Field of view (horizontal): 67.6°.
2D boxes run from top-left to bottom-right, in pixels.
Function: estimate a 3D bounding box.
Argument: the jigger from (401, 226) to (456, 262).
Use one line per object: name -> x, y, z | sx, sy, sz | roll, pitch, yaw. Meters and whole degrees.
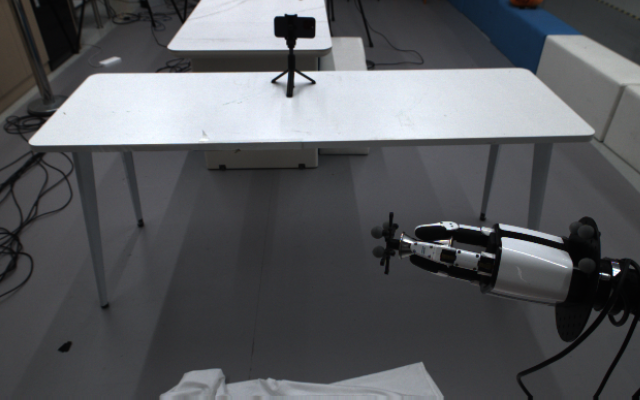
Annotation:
jigger -> 0.153, 0.061, 0.667 | 0.071, 0.043, 0.043 | 5, 34, 19
